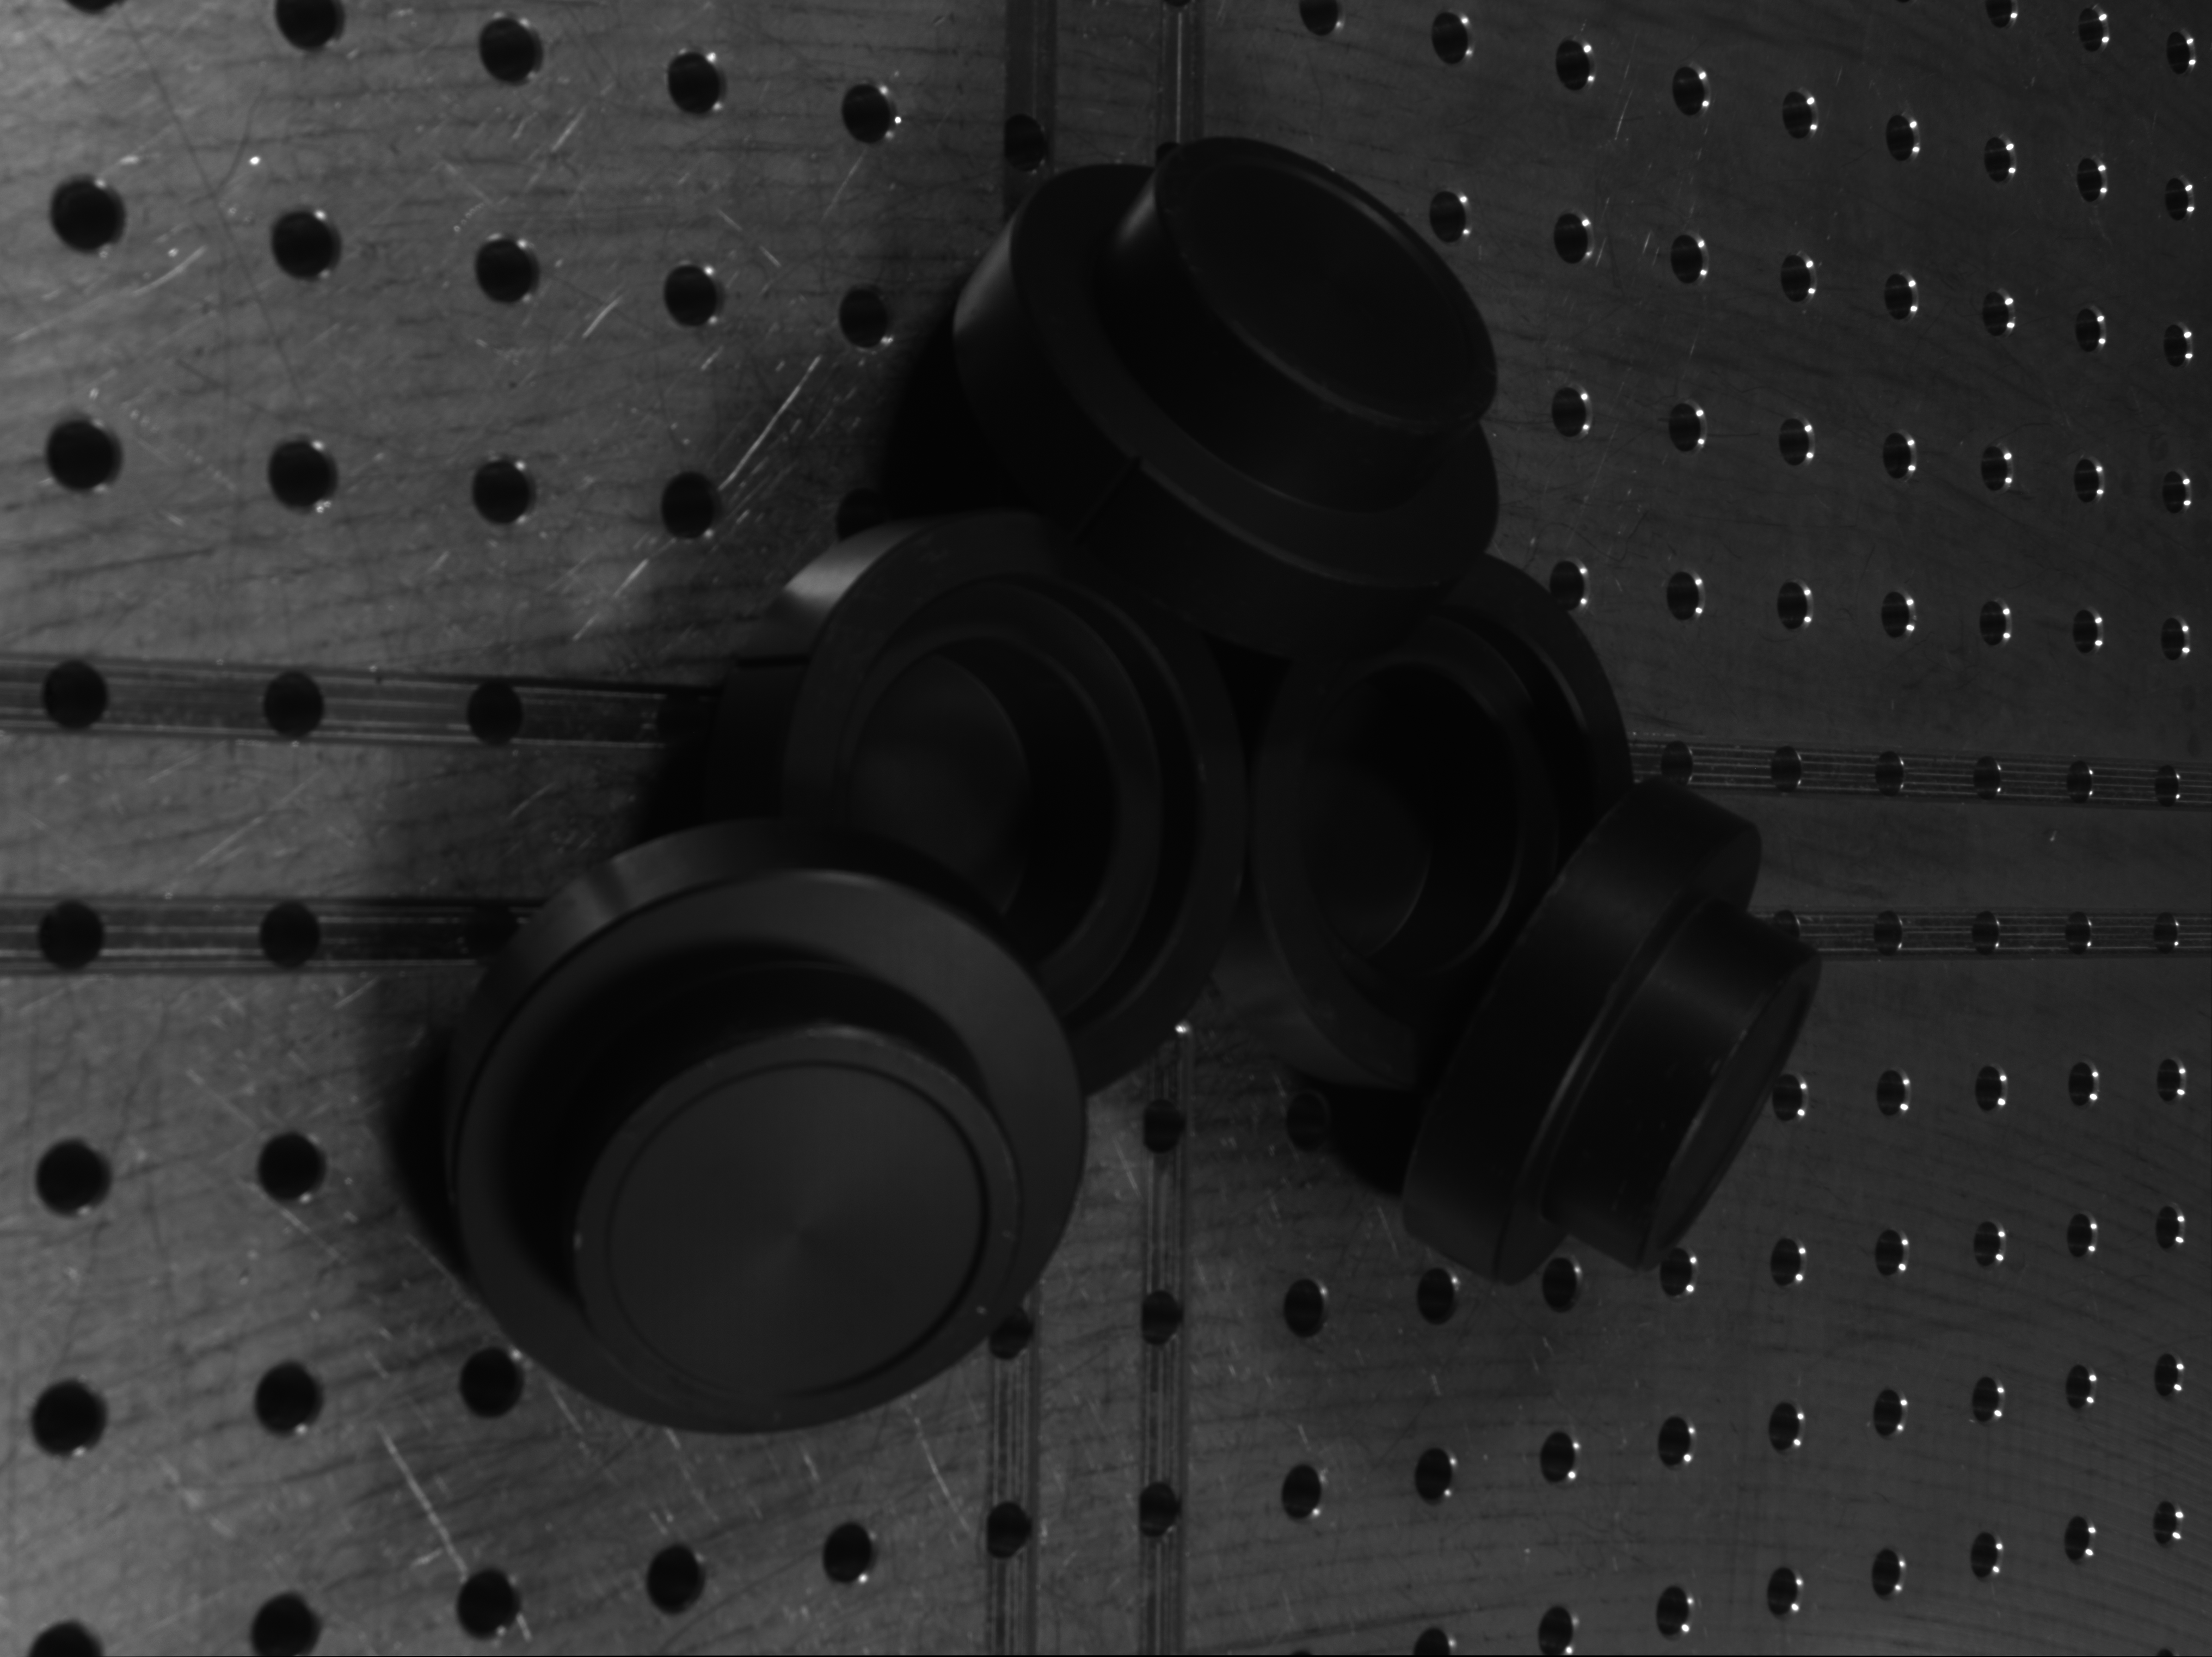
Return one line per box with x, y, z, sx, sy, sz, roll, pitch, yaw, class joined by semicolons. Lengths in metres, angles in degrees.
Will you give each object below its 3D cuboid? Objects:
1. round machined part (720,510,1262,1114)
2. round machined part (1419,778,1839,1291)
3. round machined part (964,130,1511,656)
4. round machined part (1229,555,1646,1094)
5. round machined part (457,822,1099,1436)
-0.024;-0.003;0.608;0.098;0.042;0.098;0;90;-40;round machined part
0.101;0.043;0.678;0.098;0.042;0.098;-50;157;-30;round machined part
0.029;-0.080;0.620;0.098;0.042;0.098;23;40;-21;round machined part
0.052;-0.001;0.672;0.098;0.042;0.098;0;90;-40;round machined part
-0.048;0.052;0.559;0.098;0.042;0.098;-6;116;-12;round machined part
